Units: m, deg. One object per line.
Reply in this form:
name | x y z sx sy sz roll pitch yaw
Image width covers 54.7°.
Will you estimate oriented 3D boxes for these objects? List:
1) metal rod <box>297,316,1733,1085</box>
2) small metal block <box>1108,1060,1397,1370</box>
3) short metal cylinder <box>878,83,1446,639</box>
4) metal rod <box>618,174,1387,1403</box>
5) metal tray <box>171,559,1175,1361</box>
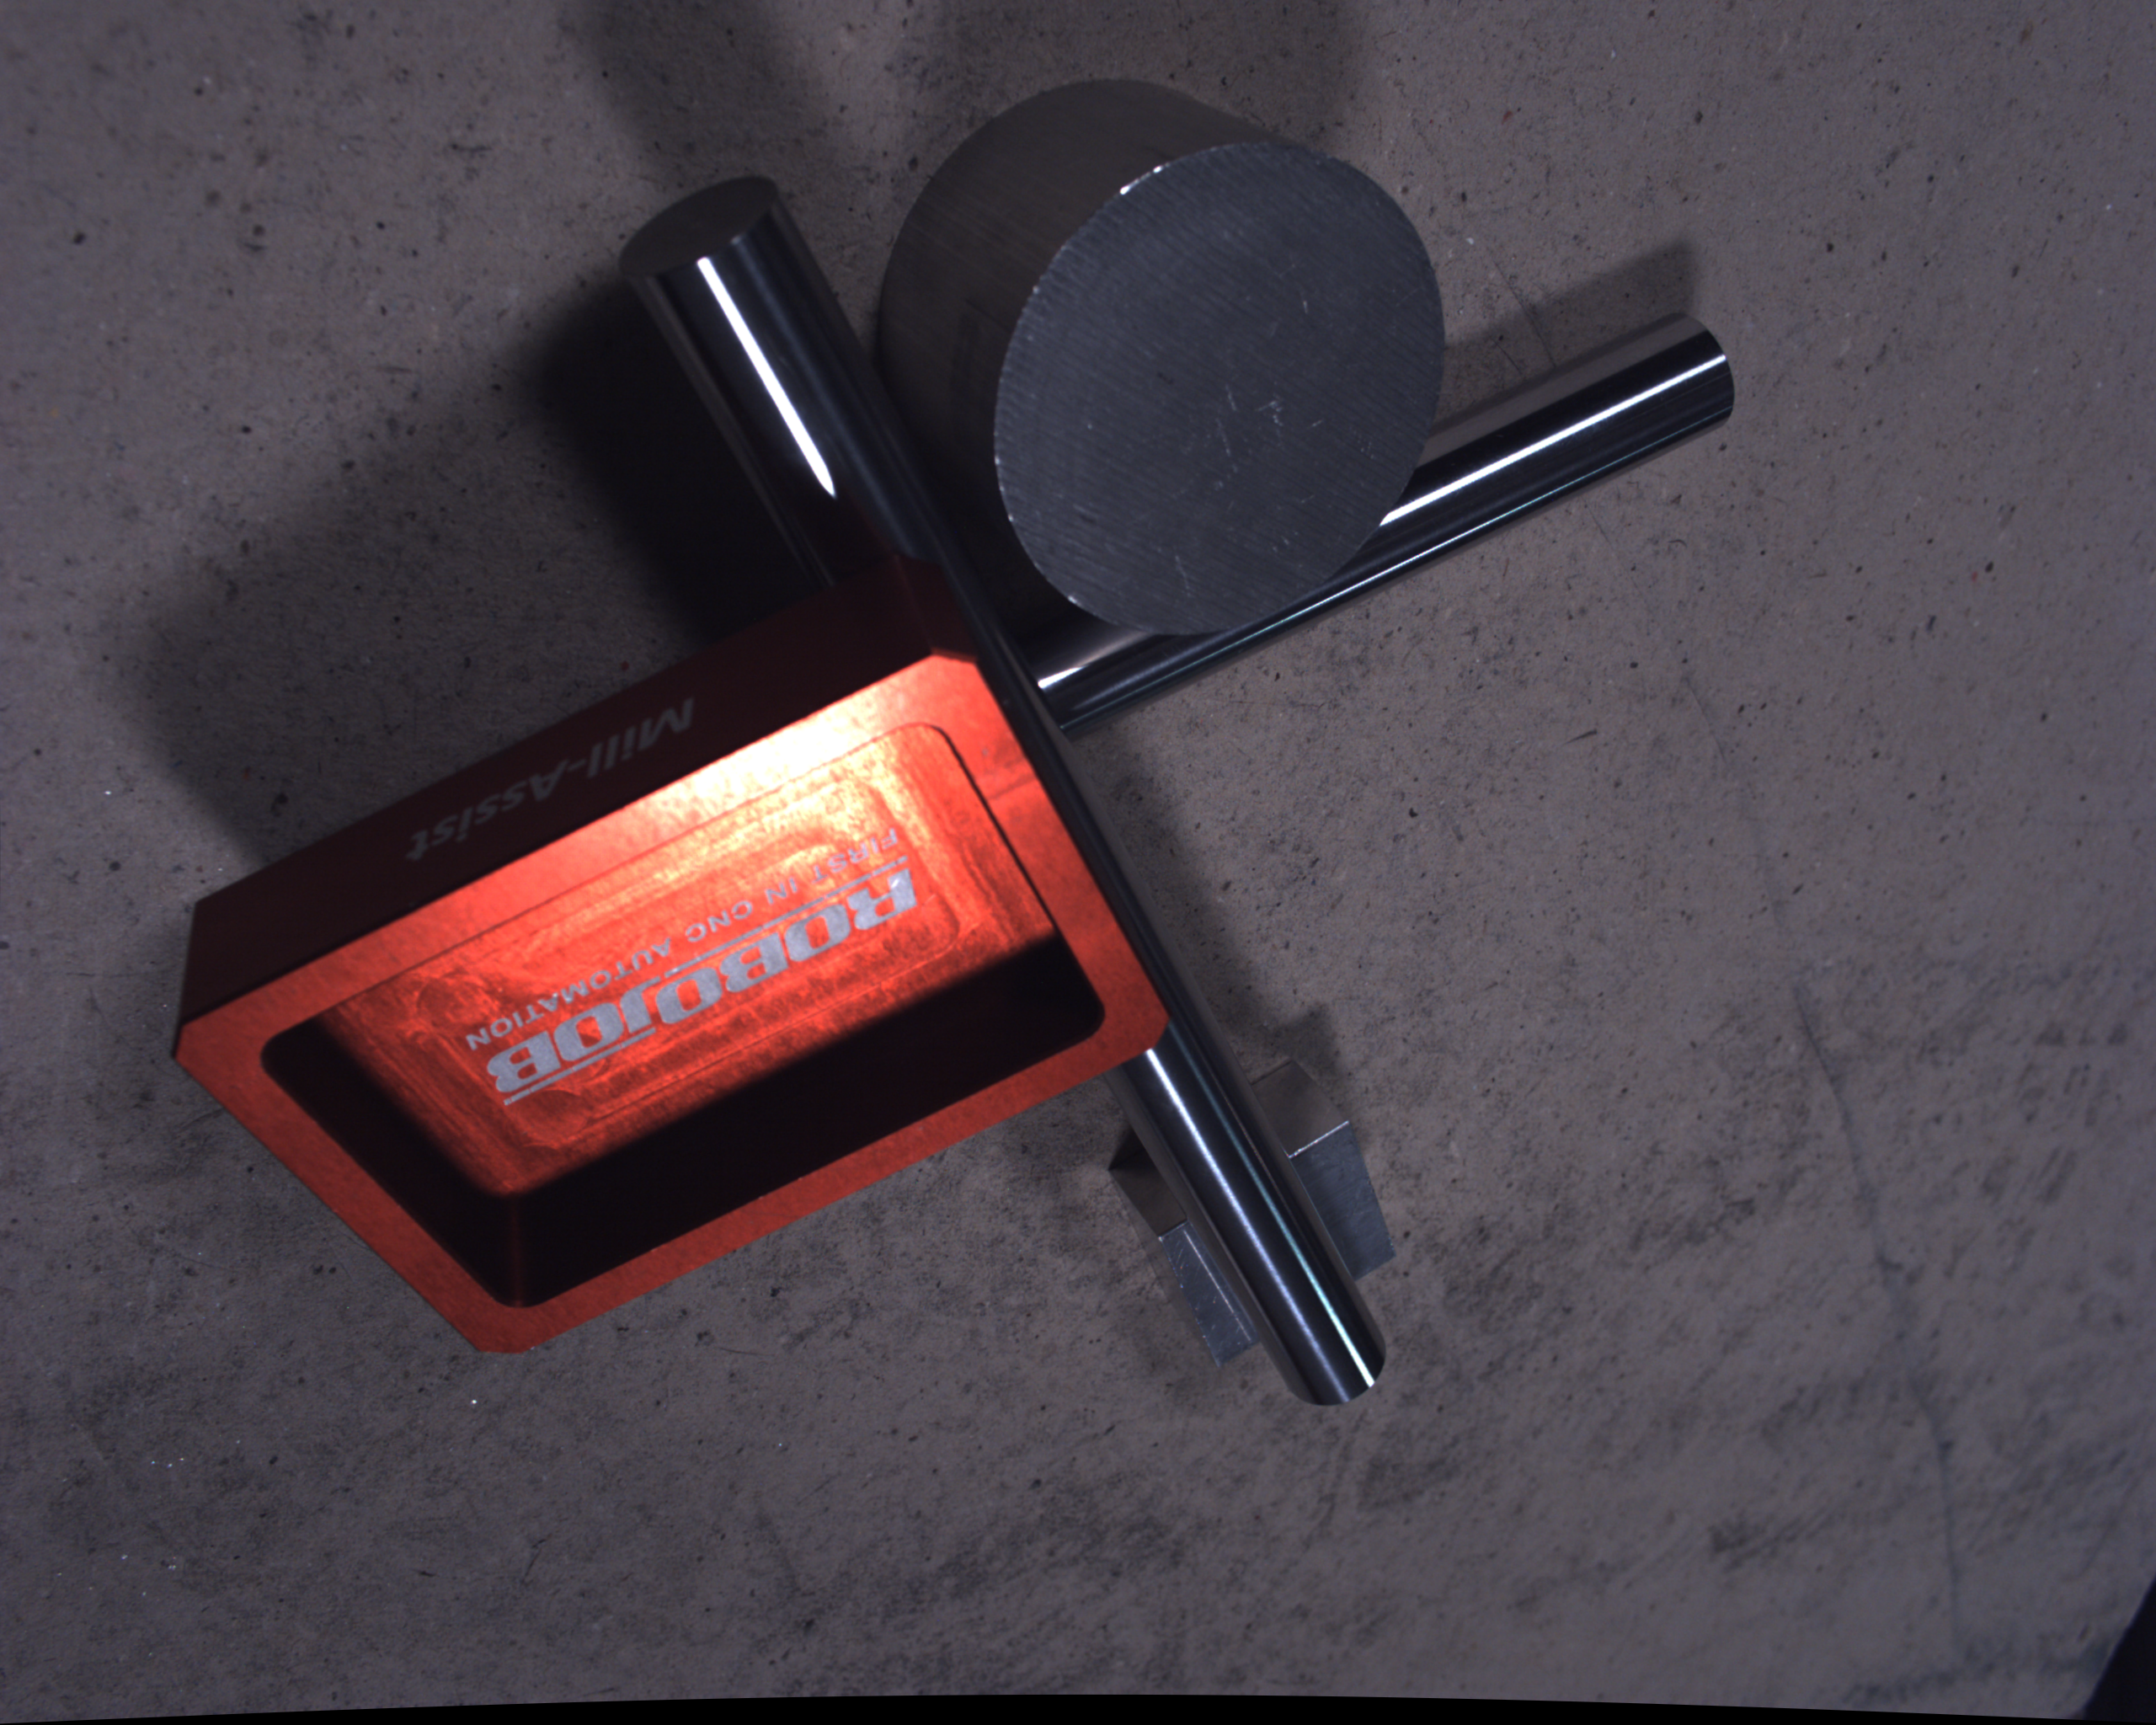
metal rod | -0.009 -0.032 0.385 0.302 0.025 0.025 -26 128 -12
small metal block | 0.041 0.082 0.483 0.050 0.025 0.050 -30 129 -10
short metal cylinder | 0.013 -0.084 0.348 0.081 0.050 0.079 -14 125 -21
metal rod | 0.003 0.012 0.387 0.025 0.025 0.299 -34 129 -6
metal tray | -0.061 0.019 0.335 0.130 0.030 0.090 -26 129 3
